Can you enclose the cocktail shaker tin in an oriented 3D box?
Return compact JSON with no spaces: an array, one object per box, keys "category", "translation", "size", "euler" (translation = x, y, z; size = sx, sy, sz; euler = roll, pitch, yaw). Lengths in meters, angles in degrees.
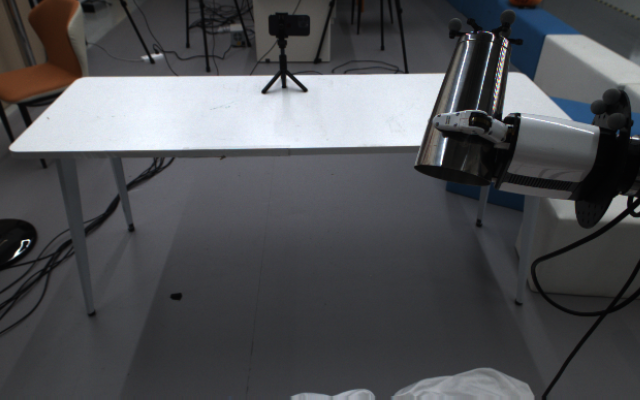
[{"category":"cocktail shaker tin","translation":[0.181,-0.111,0.593],"size":[0.093,0.170,0.093],"euler":[15,-4,1]}]
